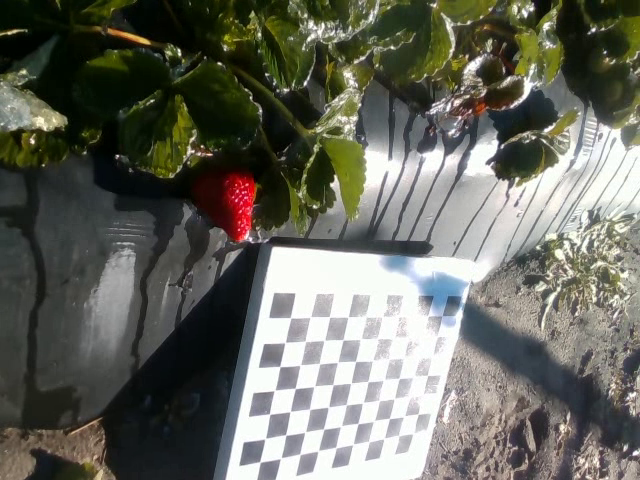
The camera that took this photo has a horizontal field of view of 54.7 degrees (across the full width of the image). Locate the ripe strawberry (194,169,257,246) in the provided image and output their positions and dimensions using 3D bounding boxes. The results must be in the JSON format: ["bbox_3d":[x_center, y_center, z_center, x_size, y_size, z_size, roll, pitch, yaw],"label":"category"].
[{"bbox_3d":[-0.054,-0.021,0.375,0.041,0.053,0.047,-3,-21,-37],"label":"ripe strawberry"}]
